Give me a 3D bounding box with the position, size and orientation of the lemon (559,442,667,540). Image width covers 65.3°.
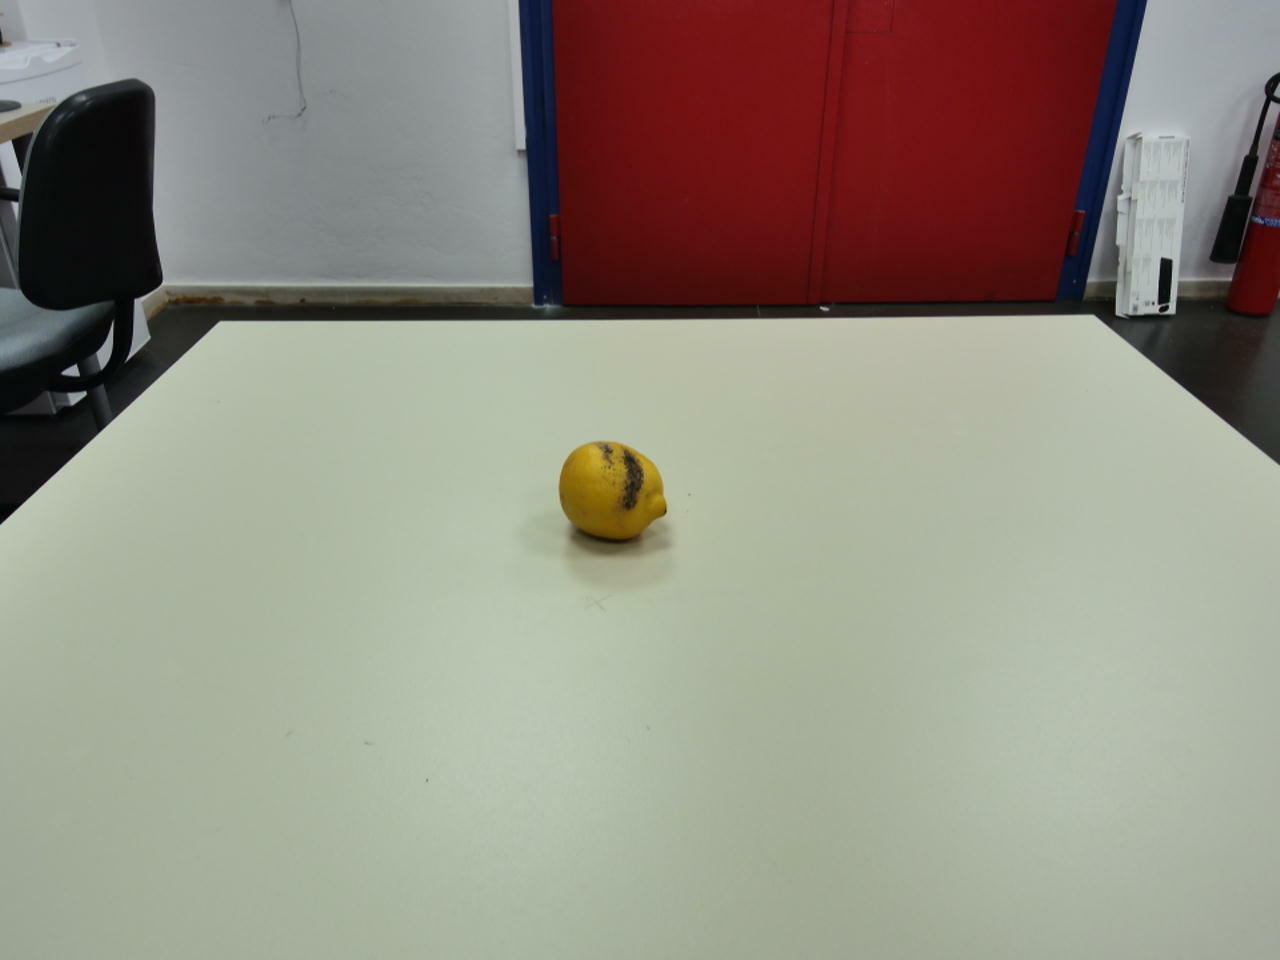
[{"bbox_3d":[-0.017,0.006,0.586,0.061,0.056,0.058,-4,27,-7],"label":"lemon"}]
